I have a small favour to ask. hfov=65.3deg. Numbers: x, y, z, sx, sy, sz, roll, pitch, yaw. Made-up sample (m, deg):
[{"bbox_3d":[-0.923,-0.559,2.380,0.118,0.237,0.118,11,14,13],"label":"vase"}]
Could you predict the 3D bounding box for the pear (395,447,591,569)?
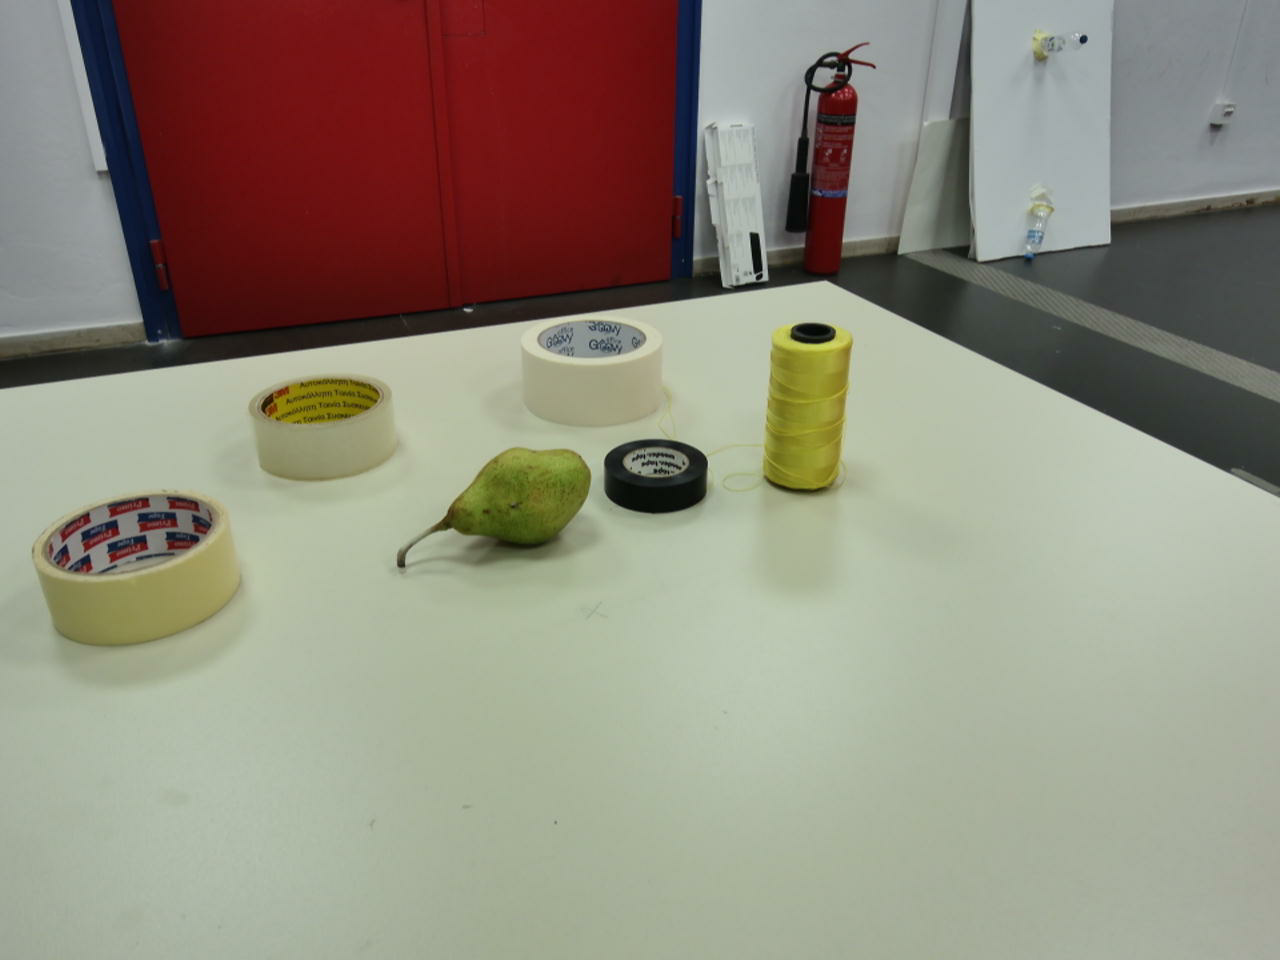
[{"bbox_3d":[-0.083,0.011,0.567,0.111,0.056,0.056,-4,27,-9],"label":"pear"}]
